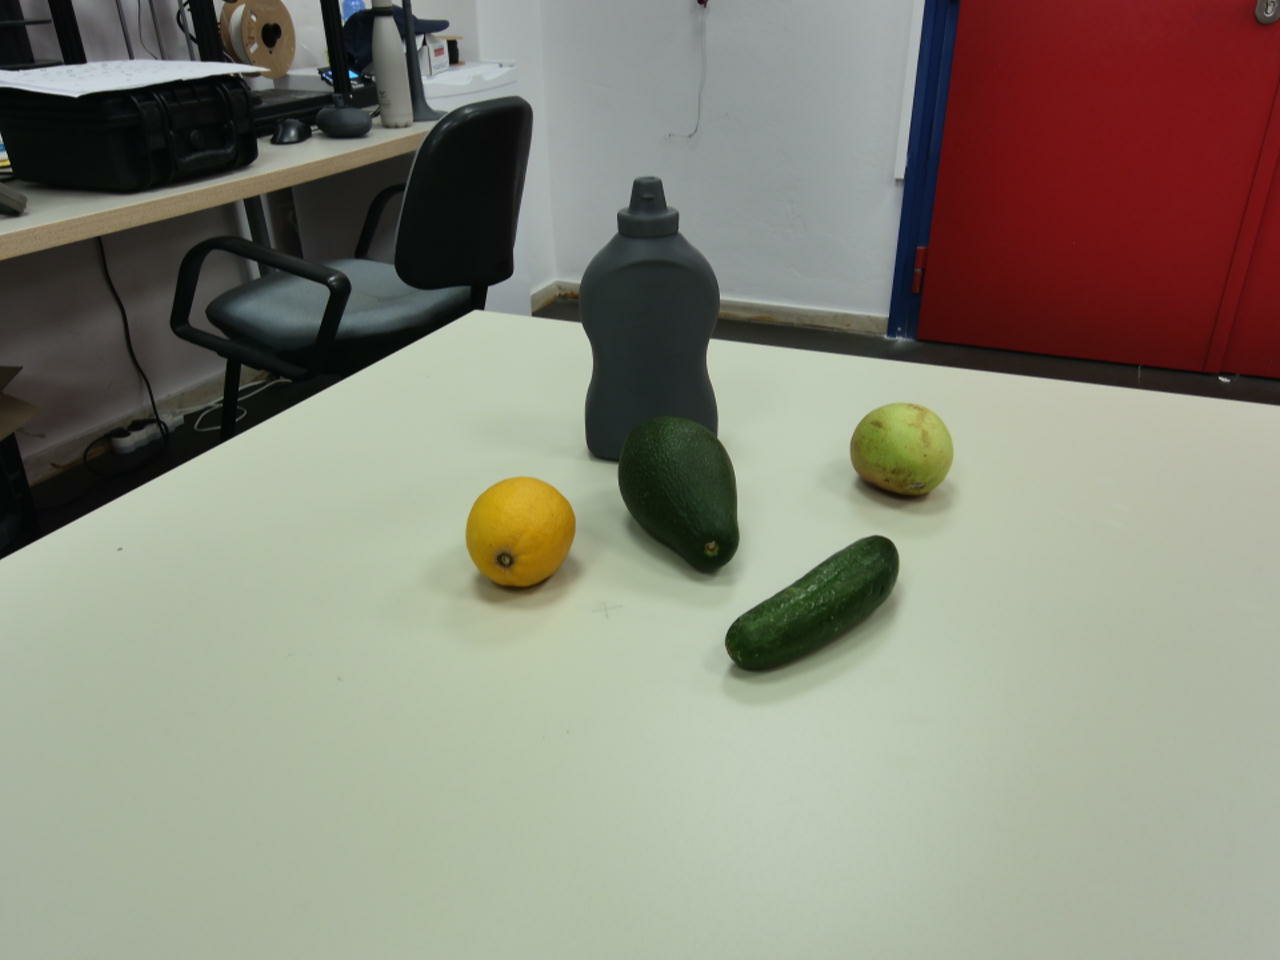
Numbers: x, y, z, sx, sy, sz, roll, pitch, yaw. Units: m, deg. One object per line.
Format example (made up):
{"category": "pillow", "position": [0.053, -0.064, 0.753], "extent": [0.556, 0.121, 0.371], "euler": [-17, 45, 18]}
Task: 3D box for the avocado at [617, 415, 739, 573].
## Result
{"category": "avocado", "position": [0.022, 0.005, 0.596], "extent": [0.072, 0.071, 0.109], "euler": [1, 26, 1]}
